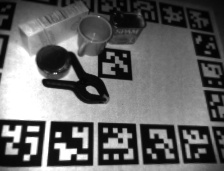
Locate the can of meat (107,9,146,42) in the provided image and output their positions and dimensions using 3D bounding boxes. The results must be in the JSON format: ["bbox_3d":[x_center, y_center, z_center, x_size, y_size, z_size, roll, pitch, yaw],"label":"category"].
[{"bbox_3d":[0.039,-0.173,0.637,0.103,0.083,0.057,-2,68,-18],"label":"can of meat"}]

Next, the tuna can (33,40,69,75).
[{"bbox_3d":[-0.156,-0.071,0.559,0.086,0.033,0.085,6,69,-14],"label":"tuna can"}]

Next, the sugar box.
[{"bbox_3d":[-0.147,-0.160,0.571,0.178,0.092,0.045,-33,78,-26],"label":"sugar box"}]

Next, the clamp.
[{"bbox_3d":[-0.083,-0.011,0.563,0.165,0.036,0.122,40,59,-3],"label":"clamp"}]

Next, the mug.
[{"bbox_3d":[-0.057,-0.138,0.586,0.093,0.081,0.117,29,66,-4],"label":"mug"}]
